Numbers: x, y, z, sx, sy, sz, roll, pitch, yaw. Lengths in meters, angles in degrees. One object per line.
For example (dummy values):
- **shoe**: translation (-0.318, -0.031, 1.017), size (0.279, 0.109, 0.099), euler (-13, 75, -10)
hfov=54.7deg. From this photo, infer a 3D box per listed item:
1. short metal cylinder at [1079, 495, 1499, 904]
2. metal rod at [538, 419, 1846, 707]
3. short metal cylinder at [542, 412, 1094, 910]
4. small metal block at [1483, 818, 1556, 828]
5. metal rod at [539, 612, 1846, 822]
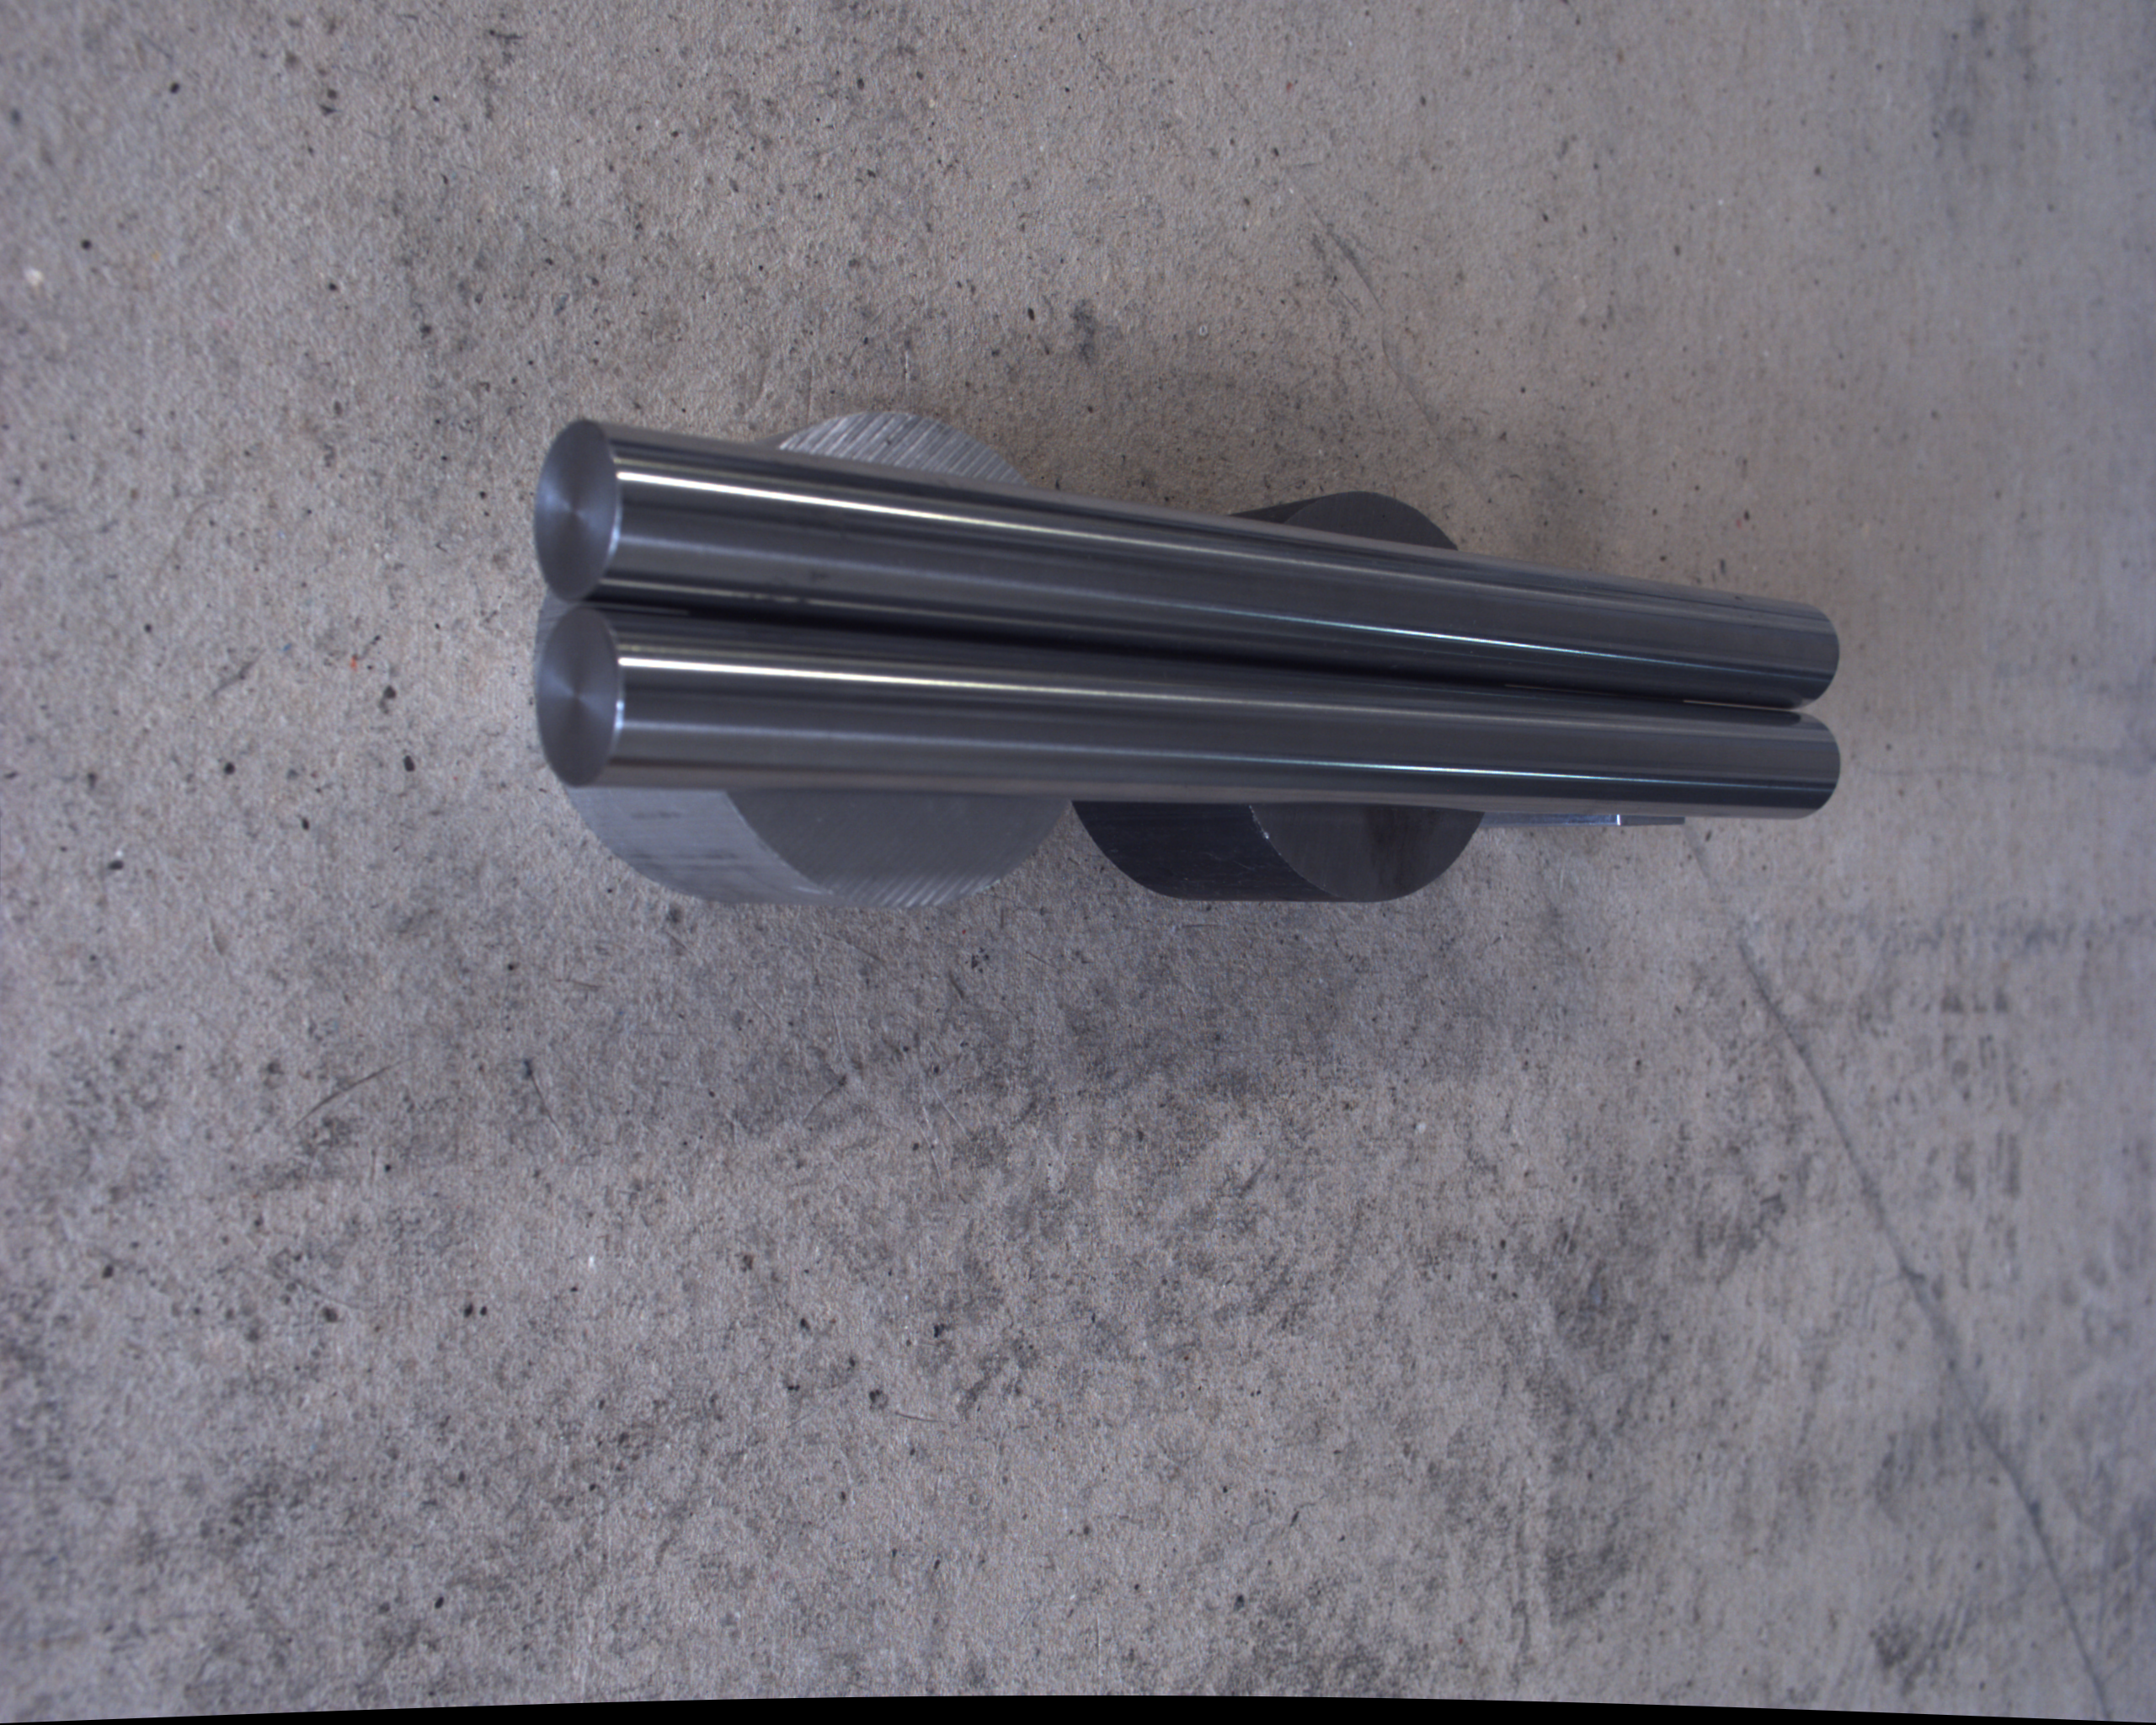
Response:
- **short metal cylinder**: translation (0.042, -0.032, 0.425), size (0.081, 0.050, 0.080), euler (0, 90, -40)
- **metal rod**: translation (0.048, -0.047, 0.380), size (0.302, 0.025, 0.025), euler (0, 90, -40)
- **short metal cylinder**: translation (-0.042, -0.032, 0.353), size (0.081, 0.050, 0.080), euler (0, 90, -40)
- **small metal block**: translation (0.111, -0.033, 0.484), size (0.025, 0.050, 0.050), euler (-2, 91, -40)
- **metal rod**: translation (0.048, -0.021, 0.380), size (0.302, 0.025, 0.025), euler (0, 90, -40)
